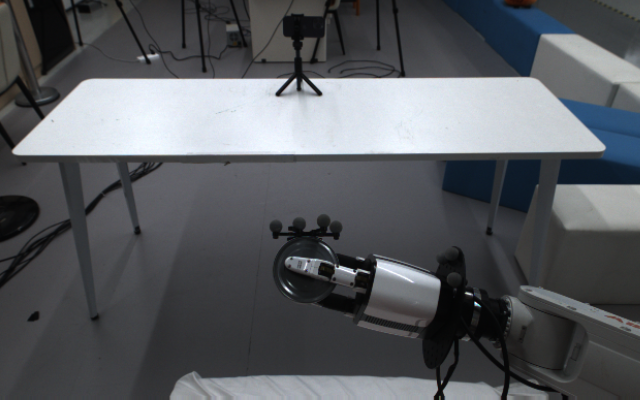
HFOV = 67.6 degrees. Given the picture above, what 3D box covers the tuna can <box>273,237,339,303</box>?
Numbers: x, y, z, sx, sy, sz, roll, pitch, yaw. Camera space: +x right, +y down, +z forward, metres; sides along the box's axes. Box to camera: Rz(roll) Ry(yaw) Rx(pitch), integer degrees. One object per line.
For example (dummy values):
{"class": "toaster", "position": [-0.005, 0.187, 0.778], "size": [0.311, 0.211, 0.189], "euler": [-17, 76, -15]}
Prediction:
{"class": "tuna can", "position": [-0.016, 0.096, 0.622], "size": [0.085, 0.034, 0.085], "euler": [1, 72, -4]}
